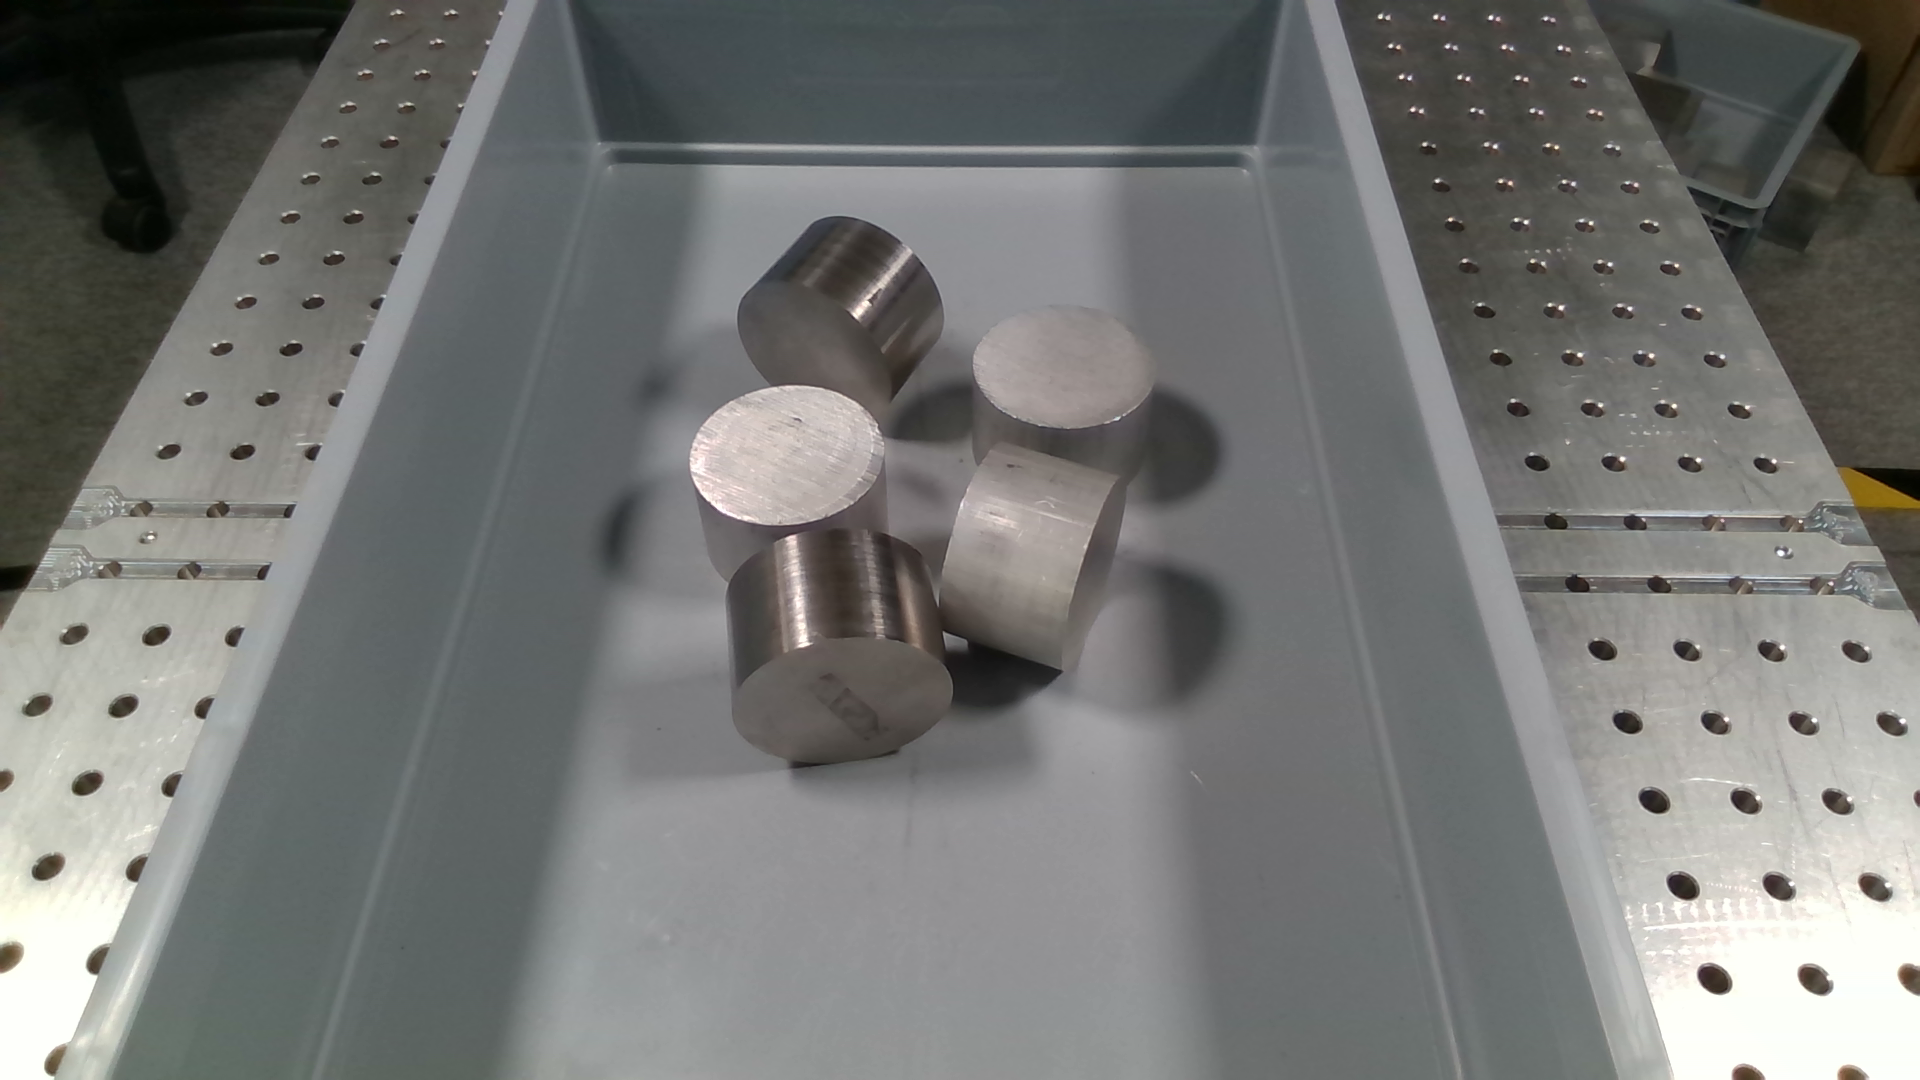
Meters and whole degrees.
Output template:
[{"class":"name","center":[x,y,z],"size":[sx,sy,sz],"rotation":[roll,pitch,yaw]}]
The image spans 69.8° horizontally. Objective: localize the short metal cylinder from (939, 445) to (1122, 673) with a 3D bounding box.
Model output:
[{"class":"short metal cylinder","center":[0.030,0.007,0.546],"size":[0.050,0.080,0.080],"rotation":[17,52,14]}]

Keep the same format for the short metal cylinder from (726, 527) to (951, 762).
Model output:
[{"class":"short metal cylinder","center":[-0.047,0.040,0.516],"size":[0.080,0.080,0.050],"rotation":[-7,50,-6]}]

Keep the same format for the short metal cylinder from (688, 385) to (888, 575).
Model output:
[{"class":"short metal cylinder","center":[-0.072,-0.020,0.586],"size":[0.080,0.050,0.080],"rotation":[0,50,0]}]

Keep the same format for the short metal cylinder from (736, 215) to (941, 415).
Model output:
[{"class":"short metal cylinder","center":[-0.055,-0.101,0.633],"size":[0.080,0.080,0.050],"rotation":[21,53,17]}]

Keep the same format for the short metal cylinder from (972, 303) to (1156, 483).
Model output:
[{"class":"short metal cylinder","center":[0.045,-0.061,0.620],"size":[0.080,0.050,0.080],"rotation":[0,50,0]}]
